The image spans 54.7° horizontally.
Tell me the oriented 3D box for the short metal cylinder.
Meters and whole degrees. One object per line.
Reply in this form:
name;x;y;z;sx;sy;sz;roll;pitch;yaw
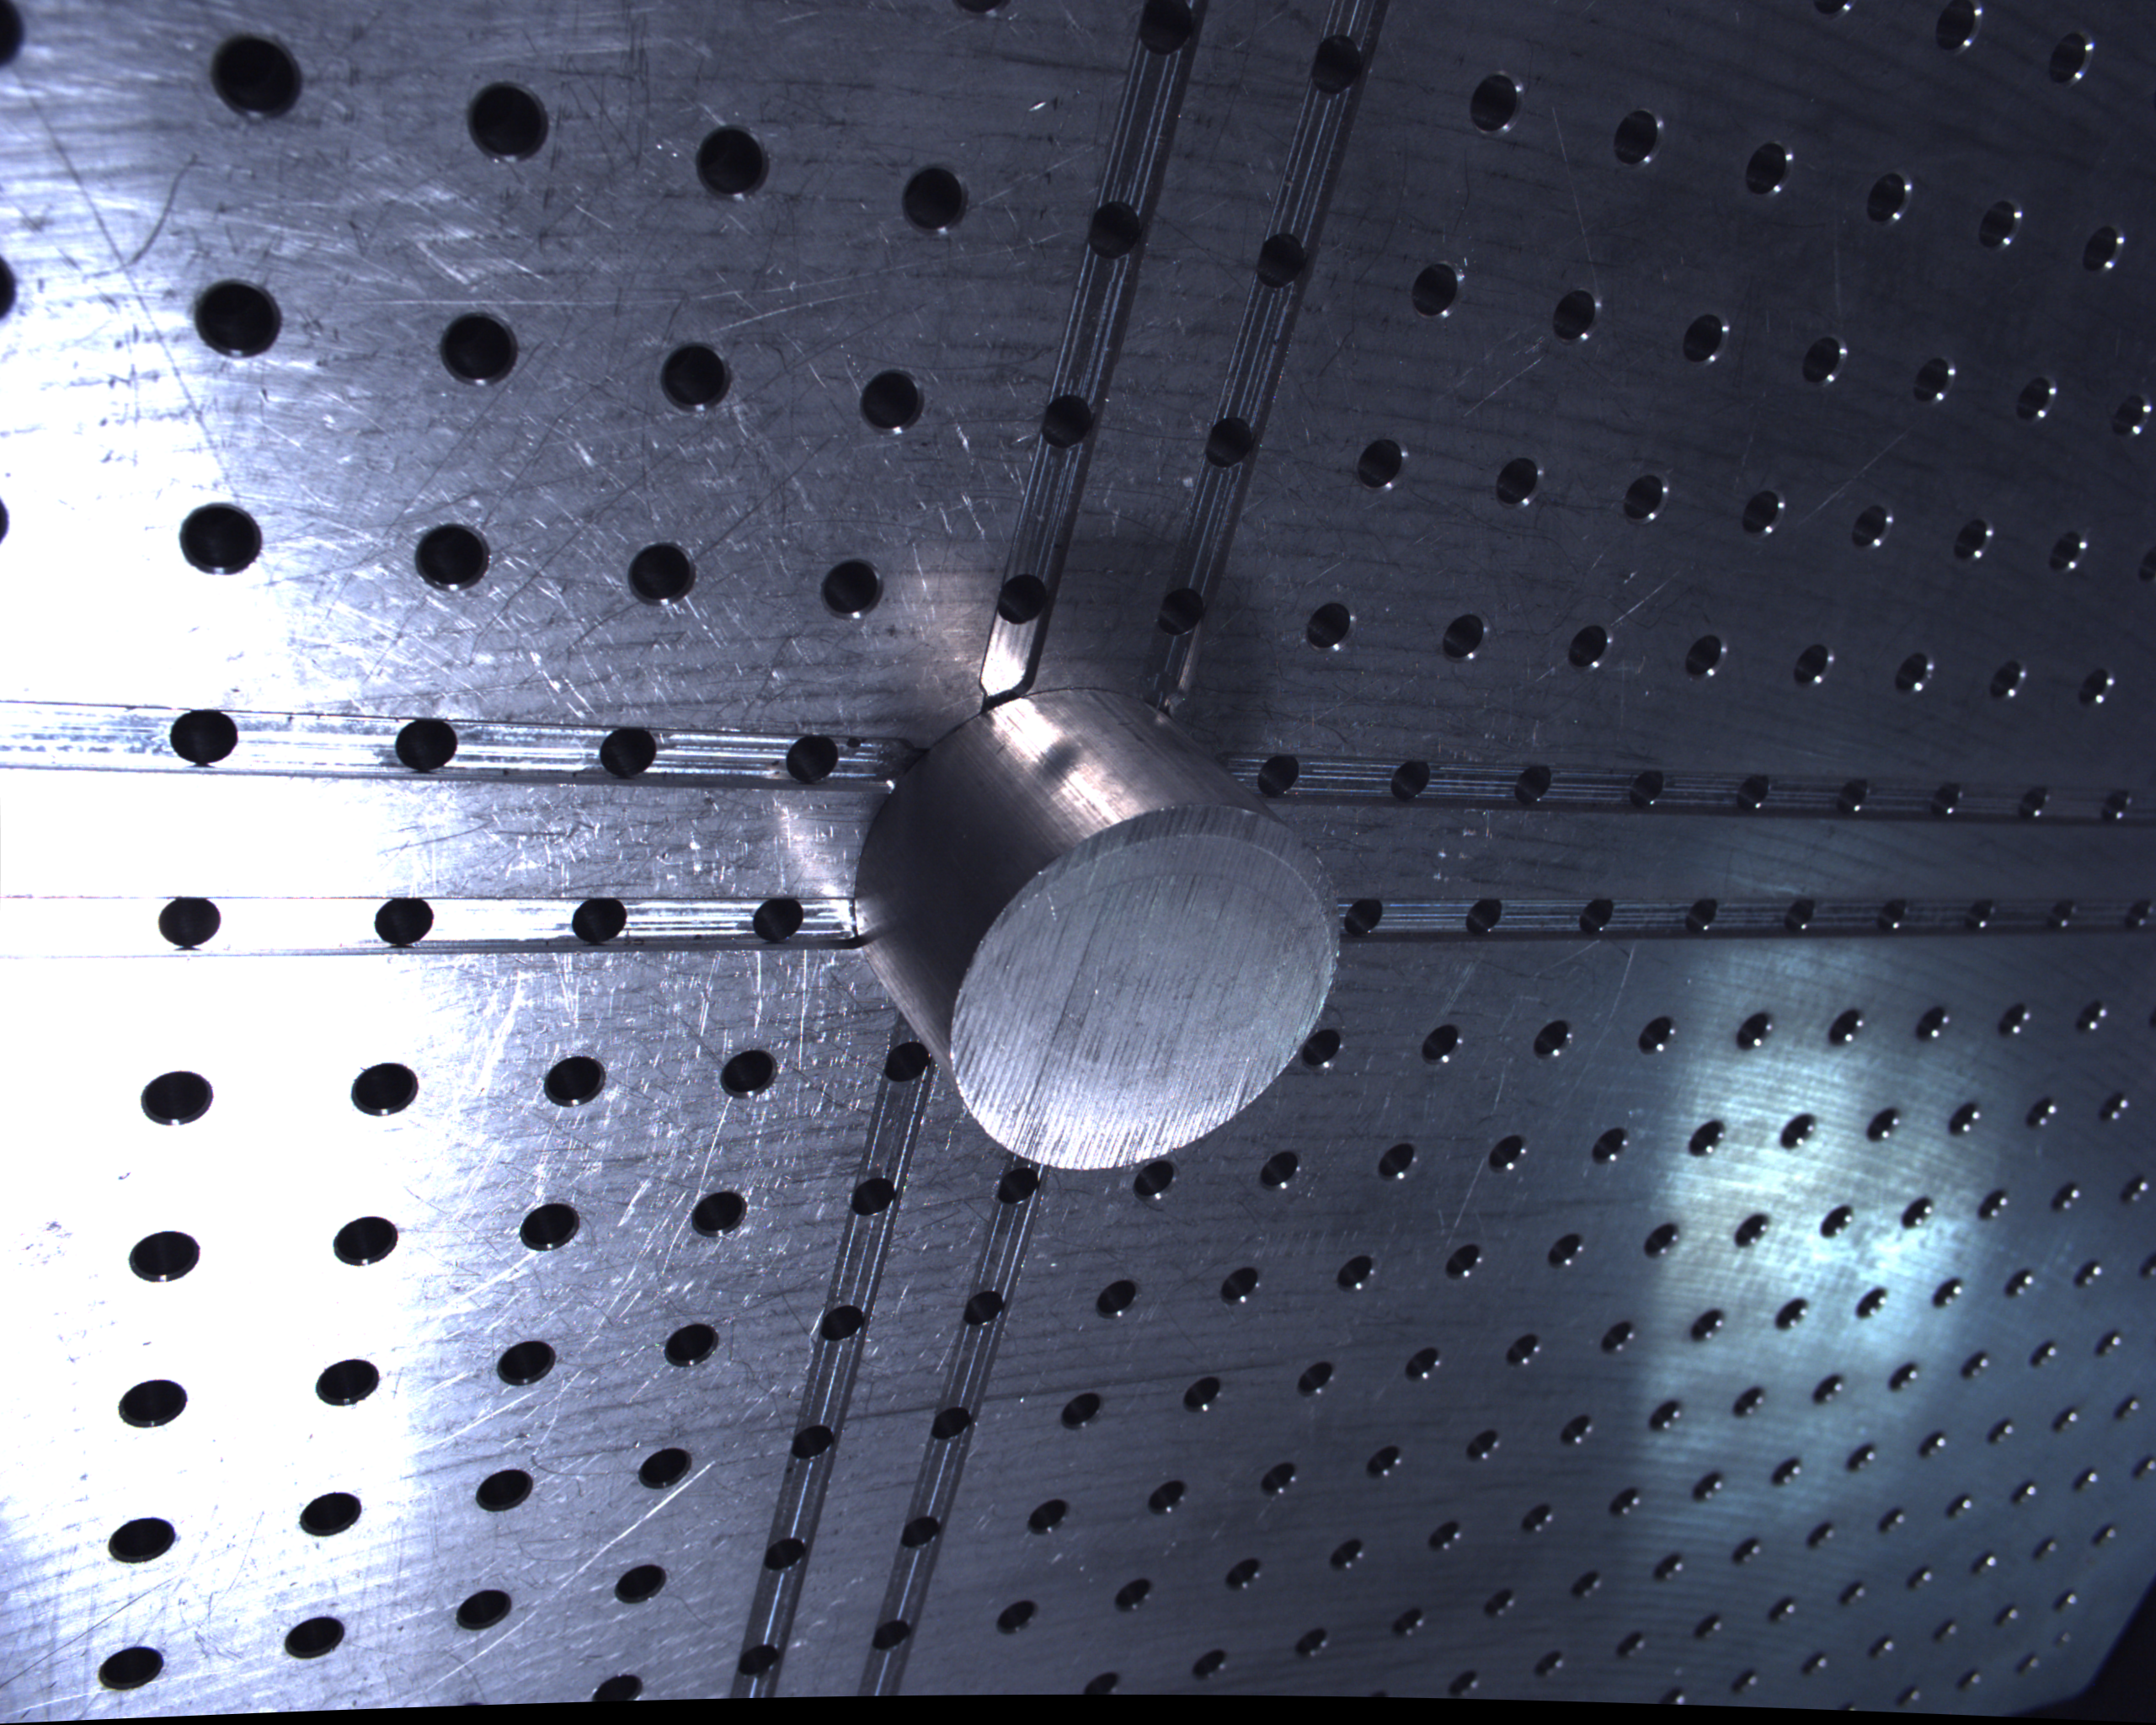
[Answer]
short metal cylinder;0.003;0.013;0.405;0.081;0.050;0.079;-14;125;-21
